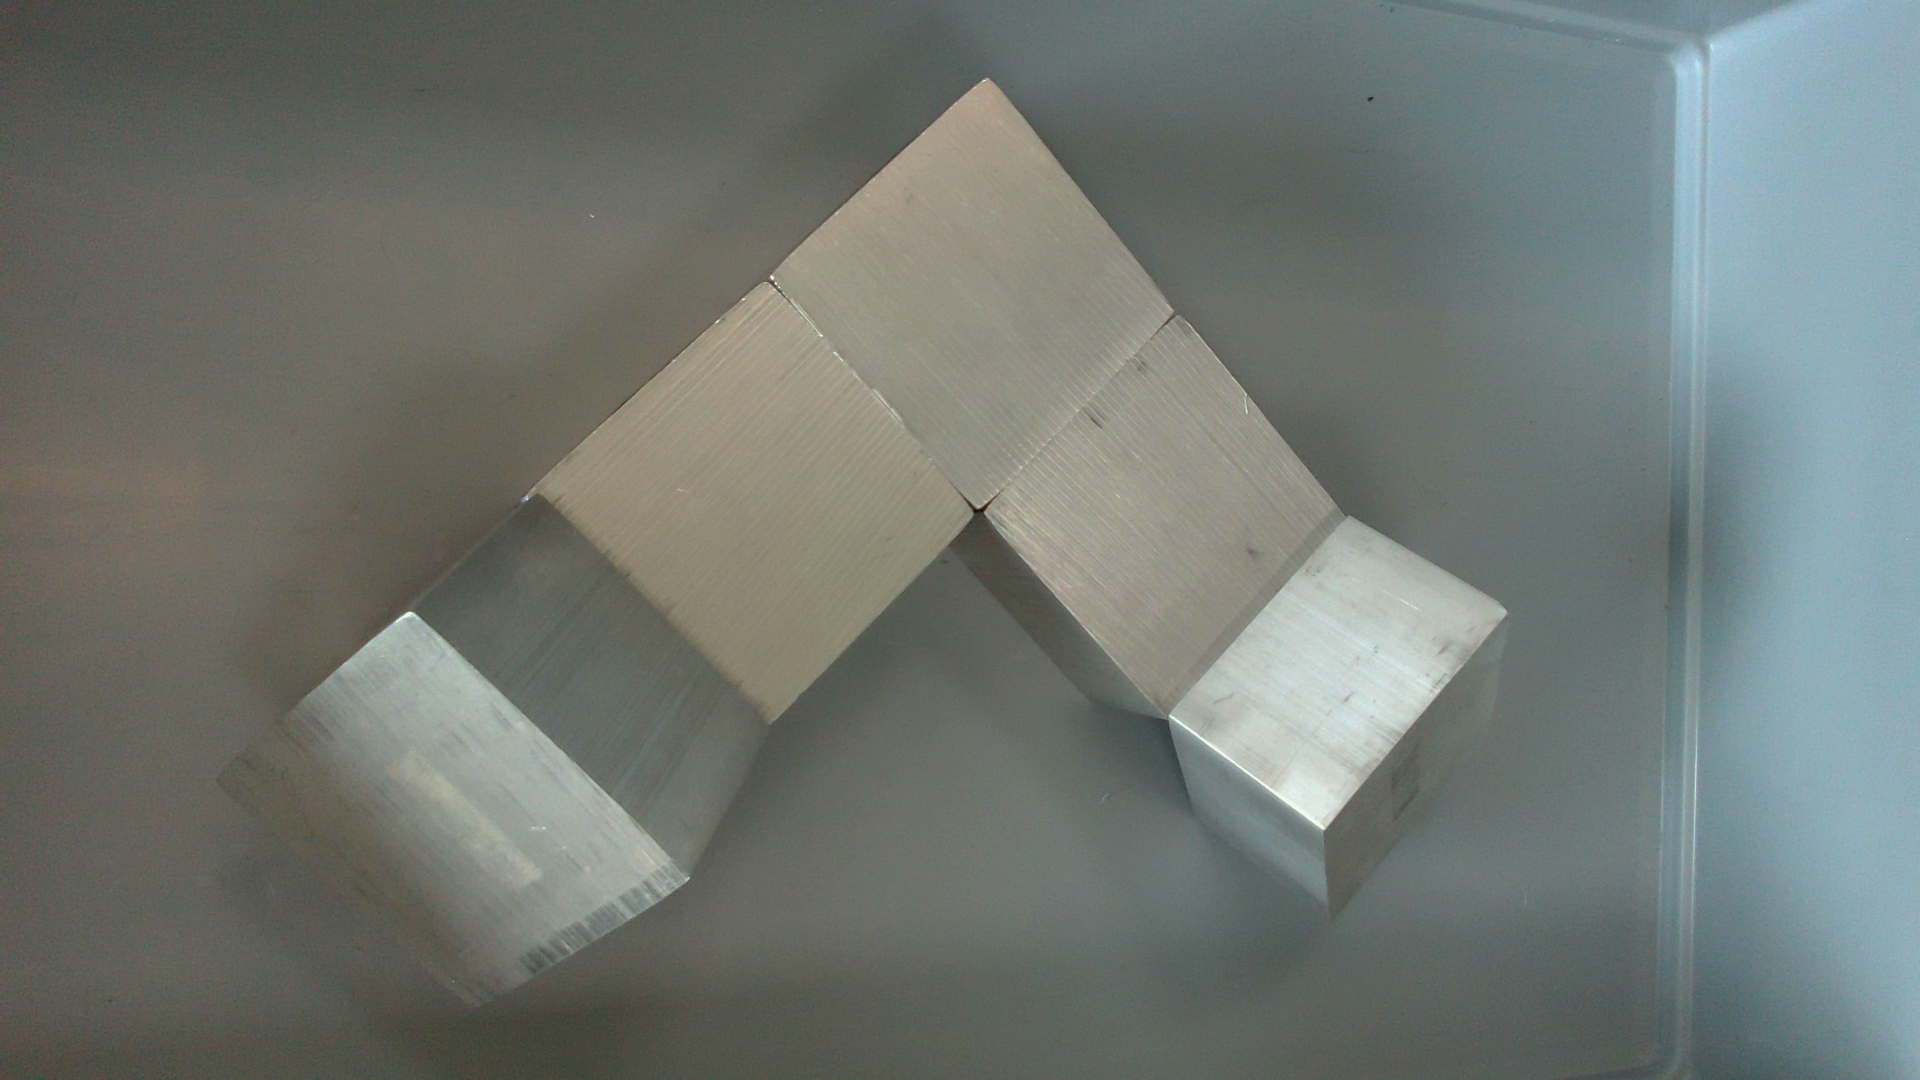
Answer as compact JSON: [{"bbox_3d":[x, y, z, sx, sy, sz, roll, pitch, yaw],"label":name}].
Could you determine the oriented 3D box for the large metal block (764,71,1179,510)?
[{"bbox_3d":[-0.002,-0.064,0.378,0.080,0.050,0.080,-46,104,-14],"label":"large metal block"}]

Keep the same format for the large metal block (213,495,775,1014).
[{"bbox_3d":[-0.105,0.051,0.318,0.080,0.050,0.080,-35,106,27],"label":"large metal block"}]

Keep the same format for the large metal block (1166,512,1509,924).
[{"bbox_3d":[0.109,0.053,0.396,0.080,0.050,0.080,-46,147,-14],"label":"large metal block"}]

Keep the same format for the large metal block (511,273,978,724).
[{"bbox_3d":[-0.057,-0.009,0.358,0.080,0.050,0.080,-46,104,-14],"label":"large metal block"}]

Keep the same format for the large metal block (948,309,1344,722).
[{"bbox_3d":[0.050,-0.006,0.397,0.080,0.050,0.080,-46,104,-14],"label":"large metal block"}]
